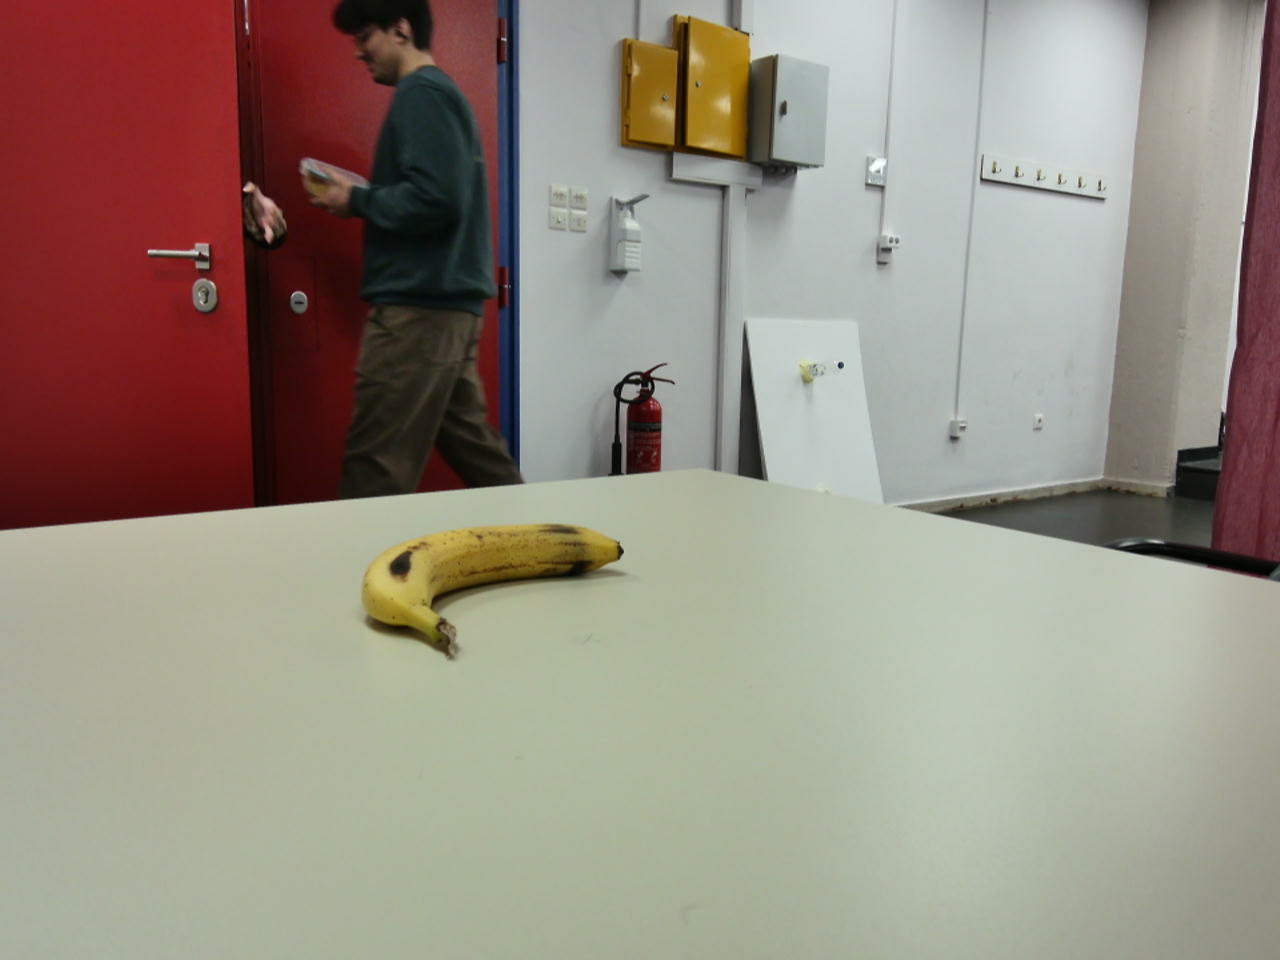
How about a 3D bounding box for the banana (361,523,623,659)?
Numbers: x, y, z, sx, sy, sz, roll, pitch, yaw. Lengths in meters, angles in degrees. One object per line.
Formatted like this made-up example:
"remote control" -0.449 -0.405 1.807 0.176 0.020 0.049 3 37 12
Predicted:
"banana" -0.092 0.052 0.583 0.097 0.038 0.186 4 8 26
